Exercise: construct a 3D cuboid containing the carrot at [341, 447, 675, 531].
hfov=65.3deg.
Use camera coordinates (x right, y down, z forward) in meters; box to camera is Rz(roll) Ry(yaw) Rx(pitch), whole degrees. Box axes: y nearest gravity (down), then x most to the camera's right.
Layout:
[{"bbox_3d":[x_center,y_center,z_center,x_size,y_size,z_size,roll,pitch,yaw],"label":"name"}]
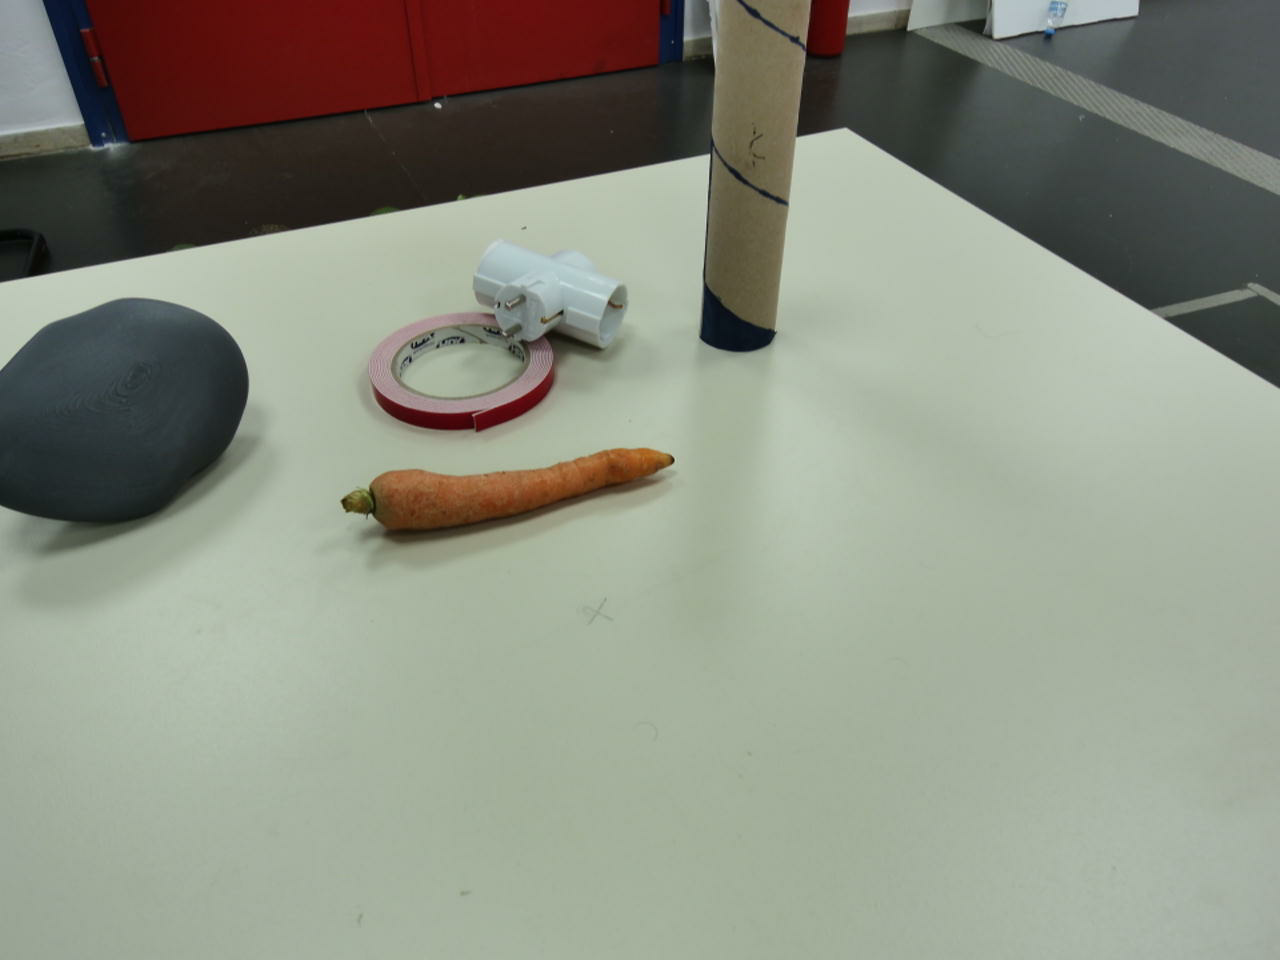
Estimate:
[{"bbox_3d":[-0.062,0.001,0.508,0.173,0.032,0.030,-10,40,-13],"label":"carrot"}]
